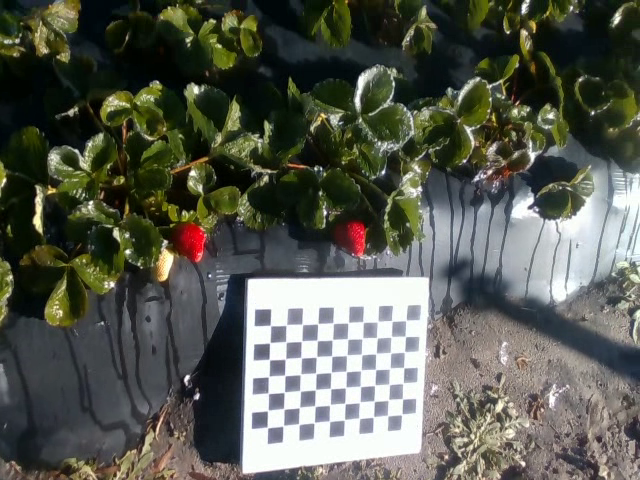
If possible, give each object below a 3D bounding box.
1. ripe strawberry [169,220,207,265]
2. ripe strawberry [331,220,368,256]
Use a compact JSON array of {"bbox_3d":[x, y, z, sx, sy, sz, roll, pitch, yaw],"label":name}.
[{"bbox_3d":[-0.162,0.009,0.863,0.043,0.061,0.046,-14,-31,-21],"label":"ripe strawberry"},{"bbox_3d":[0.051,-0.001,0.945,0.049,0.061,0.044,-7,-24,-22],"label":"ripe strawberry"}]
